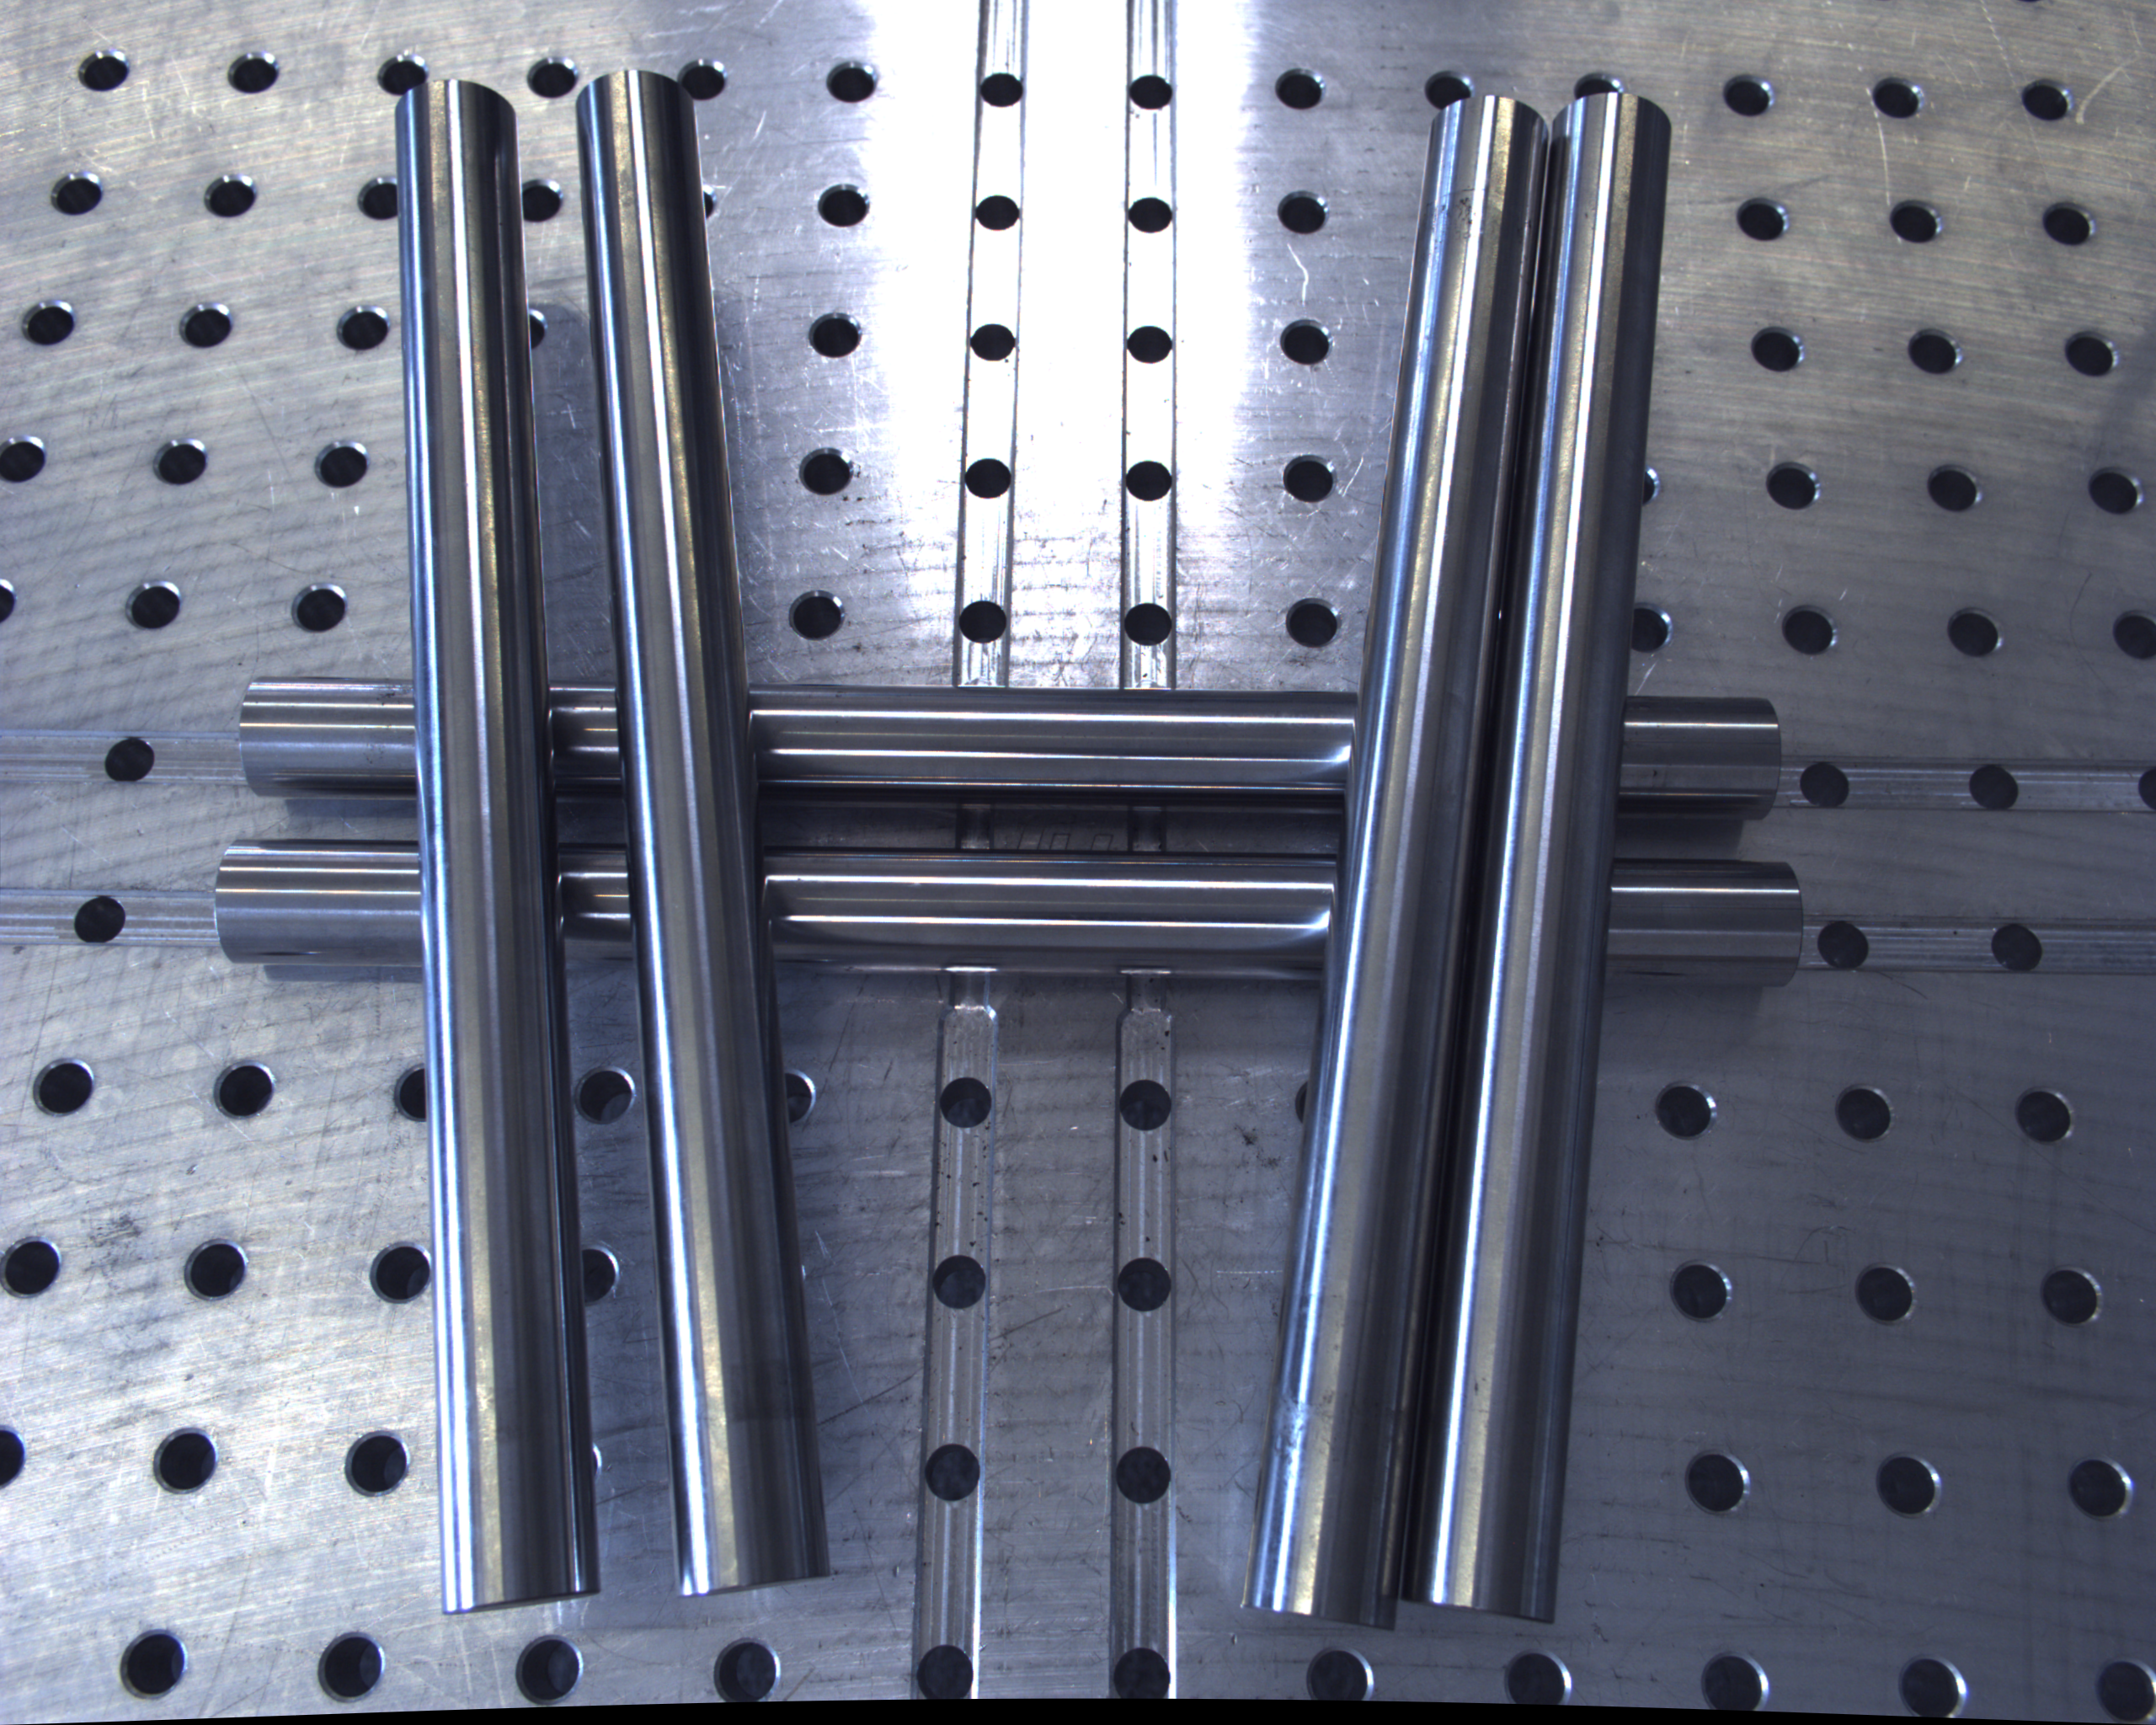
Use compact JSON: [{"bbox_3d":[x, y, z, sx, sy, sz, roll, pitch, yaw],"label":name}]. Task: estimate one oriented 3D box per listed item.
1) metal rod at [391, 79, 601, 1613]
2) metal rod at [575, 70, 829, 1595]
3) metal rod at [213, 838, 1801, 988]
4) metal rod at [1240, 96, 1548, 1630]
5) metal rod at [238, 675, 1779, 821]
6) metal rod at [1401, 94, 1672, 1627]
[{"bbox_3d":[-0.112,-0.018,0.392,0.025,0.025,0.299,-8,70,-3],"label":"metal rod"},{"bbox_3d":[-0.074,-0.021,0.393,0.025,0.025,0.299,-7,70,-3],"label":"metal rod"},{"bbox_3d":[-0.013,0.010,0.409,0.302,0.025,0.025,1,70,0],"label":"metal rod"},{"bbox_3d":[0.063,-0.015,0.392,0.025,0.025,0.299,9,70,3],"label":"metal rod"},{"bbox_3d":[-0.014,-0.023,0.421,0.302,0.025,0.025,1,70,0],"label":"metal rod"},{"bbox_3d":[0.089,-0.016,0.392,0.025,0.025,0.299,9,70,3],"label":"metal rod"}]
